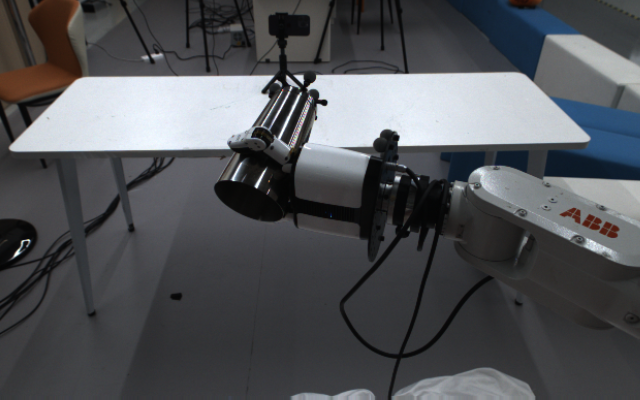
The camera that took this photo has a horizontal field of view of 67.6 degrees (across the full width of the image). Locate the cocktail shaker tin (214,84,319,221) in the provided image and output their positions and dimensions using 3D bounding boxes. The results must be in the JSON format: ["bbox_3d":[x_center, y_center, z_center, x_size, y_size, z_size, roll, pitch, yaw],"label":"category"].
[{"bbox_3d":[-0.063,-0.067,0.636,0.093,0.093,0.170,13,60,16],"label":"cocktail shaker tin"}]
